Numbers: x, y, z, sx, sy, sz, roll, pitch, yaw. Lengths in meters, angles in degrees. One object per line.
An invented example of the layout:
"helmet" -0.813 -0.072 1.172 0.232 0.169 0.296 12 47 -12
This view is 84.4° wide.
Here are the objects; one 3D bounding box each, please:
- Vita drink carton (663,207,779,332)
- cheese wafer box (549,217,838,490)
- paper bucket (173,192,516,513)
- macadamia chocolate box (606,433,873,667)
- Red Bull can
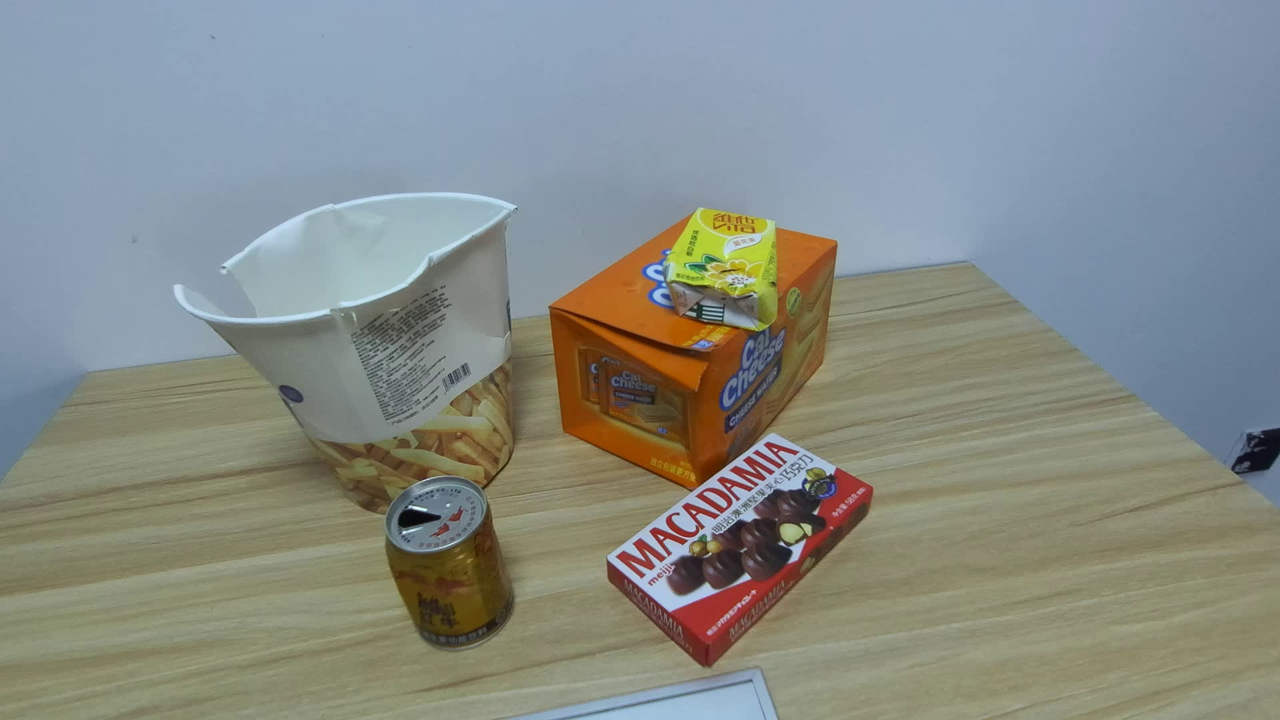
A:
"Vita drink carton" 0.064 -0.067 0.527 0.087 0.042 0.108 13 40 8
"cheese wafer box" 0.053 -0.022 0.602 0.149 0.137 0.228 22 41 30
"paper bucket" -0.187 -0.002 0.538 0.145 0.197 0.203 11 37 21
"macadamia chocolate box" 0.073 0.121 0.492 0.178 0.027 0.095 -30 42 -32
"Red Bull can" -0.117 0.127 0.442 0.068 0.093 0.068 -3 33 2
